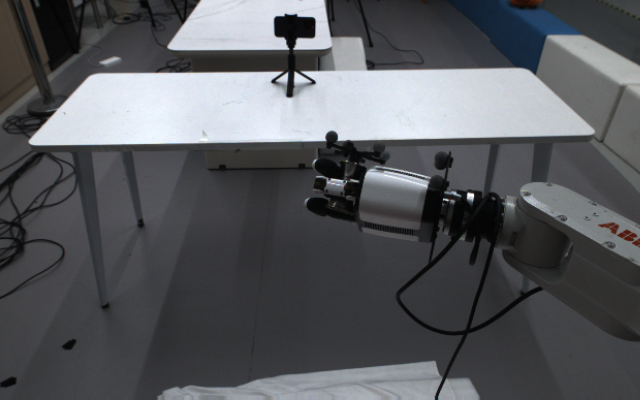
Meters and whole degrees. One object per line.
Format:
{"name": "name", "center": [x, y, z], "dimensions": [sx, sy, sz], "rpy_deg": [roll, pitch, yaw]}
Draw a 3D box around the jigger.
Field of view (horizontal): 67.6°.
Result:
{"name": "jigger", "center": [0.040, -0.018, 0.681], "dimensions": [0.043, 0.071, 0.043], "rpy_deg": [16, -7, 2]}
